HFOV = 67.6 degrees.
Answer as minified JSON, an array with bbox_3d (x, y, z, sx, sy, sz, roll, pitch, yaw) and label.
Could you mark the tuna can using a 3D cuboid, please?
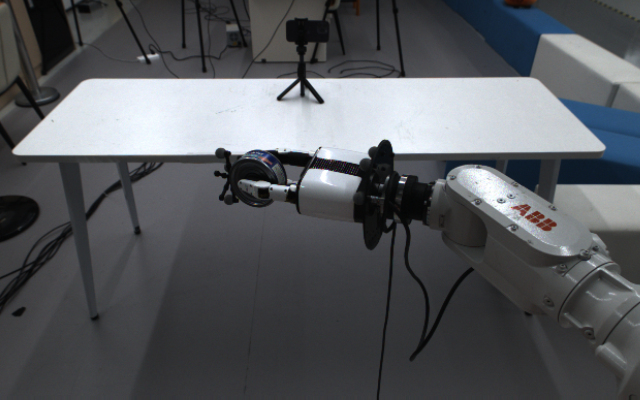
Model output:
[{"bbox_3d":[-0.096,-0.034,0.749,0.085,0.085,0.034,12,29,14],"label":"tuna can"}]
